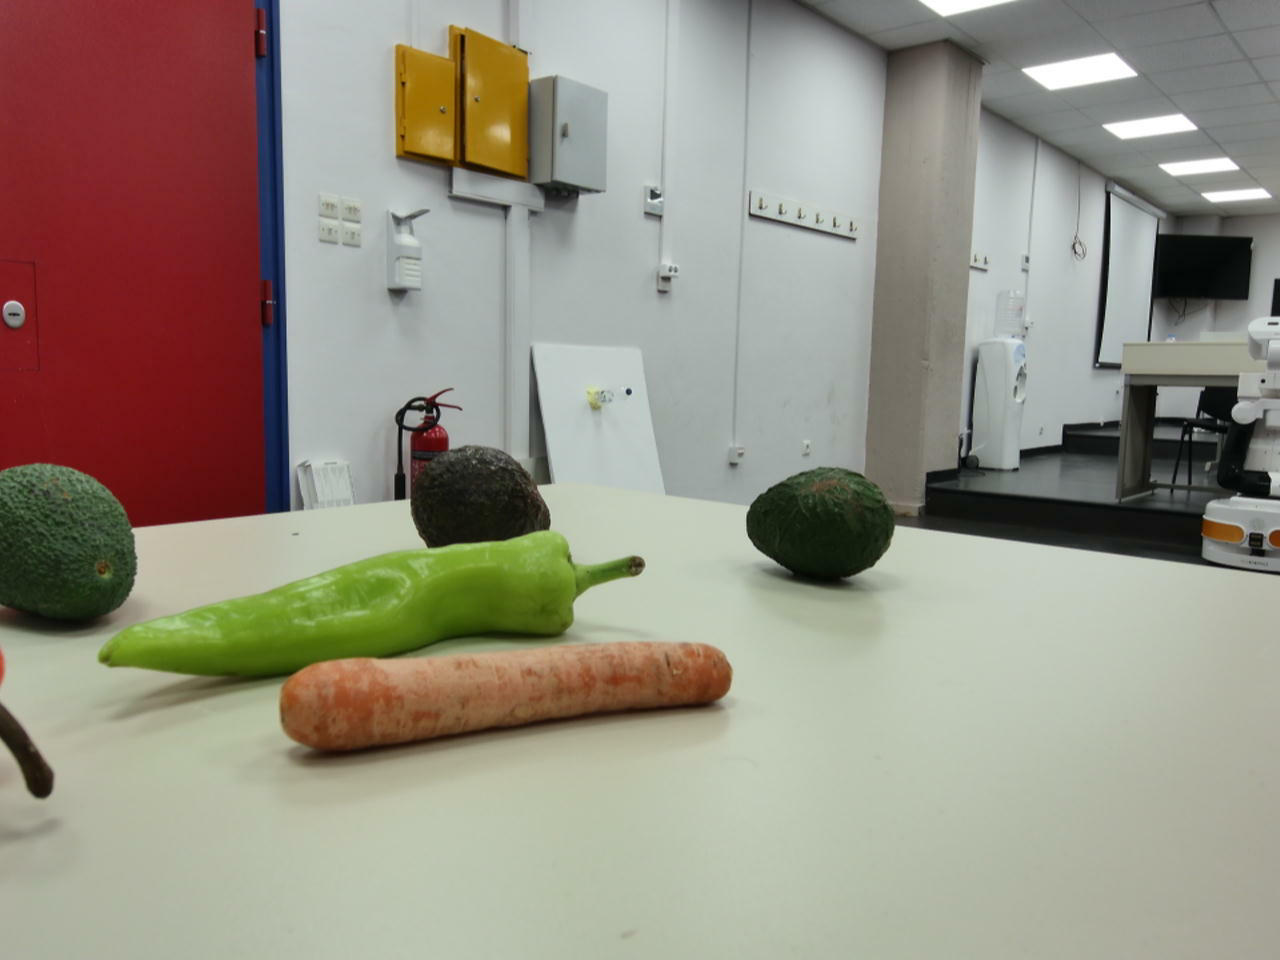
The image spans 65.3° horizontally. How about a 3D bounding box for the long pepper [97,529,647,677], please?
[{"bbox_3d":[-0.098,0.048,0.399,0.204,0.045,0.065,-4,5,-34],"label":"long pepper"}]
